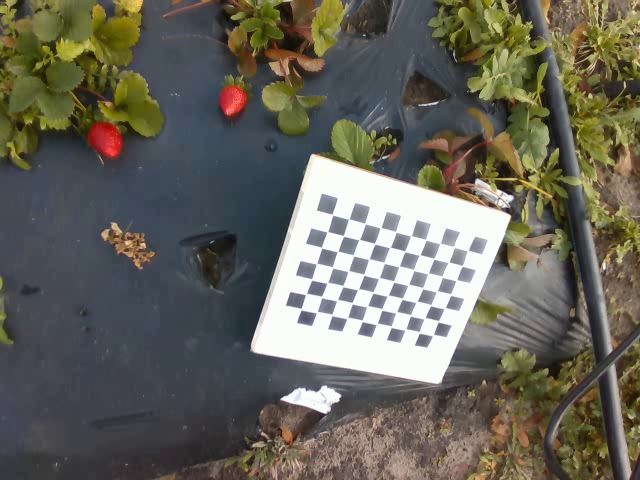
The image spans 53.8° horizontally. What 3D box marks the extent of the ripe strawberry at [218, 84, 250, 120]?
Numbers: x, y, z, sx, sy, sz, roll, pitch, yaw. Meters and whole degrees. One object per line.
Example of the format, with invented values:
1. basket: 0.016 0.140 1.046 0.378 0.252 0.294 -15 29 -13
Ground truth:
1. ripe strawberry: -0.110 -0.168 0.773 0.041 0.052 0.044 -19 -45 38

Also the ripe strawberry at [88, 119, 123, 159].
1. ripe strawberry: -0.253 -0.112 0.735 0.051 0.046 0.050 13 34 -30
